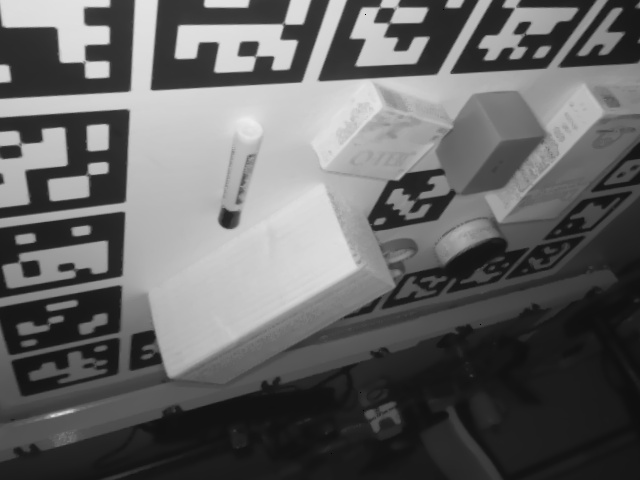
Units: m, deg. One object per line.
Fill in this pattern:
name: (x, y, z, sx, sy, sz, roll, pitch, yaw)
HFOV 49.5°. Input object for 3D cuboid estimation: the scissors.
scissors: (0.034, 0.028, 0.762, 0.206, 0.016, 0.086, -5, 143, -32)

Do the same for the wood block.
wood block: (-0.045, 0.030, 0.648, 0.204, 0.091, 0.090, -32, 148, 14)

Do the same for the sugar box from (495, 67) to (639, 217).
sugar box: (0.264, -0.095, 0.710, 0.094, 0.045, 0.173, -4, 143, -28)

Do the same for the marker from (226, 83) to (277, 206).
marker: (-0.056, -0.071, 0.548, 0.020, 0.019, 0.119, -7, 142, -25)

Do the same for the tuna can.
tuna can: (0.198, 0.010, 0.824, 0.086, 0.034, 0.085, -18, 147, -11)

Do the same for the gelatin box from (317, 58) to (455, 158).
gelatin box: (0.054, -0.106, 0.564, 0.091, 0.030, 0.072, 6, 137, -40)

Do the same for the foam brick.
foam brick: (0.151, -0.102, 0.607, 0.053, 0.051, 0.077, -7, 144, -26)
